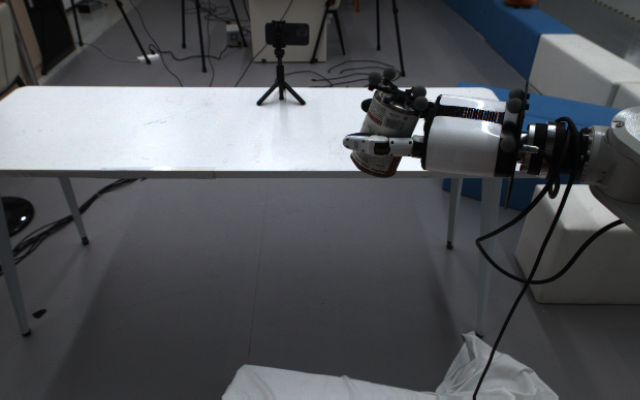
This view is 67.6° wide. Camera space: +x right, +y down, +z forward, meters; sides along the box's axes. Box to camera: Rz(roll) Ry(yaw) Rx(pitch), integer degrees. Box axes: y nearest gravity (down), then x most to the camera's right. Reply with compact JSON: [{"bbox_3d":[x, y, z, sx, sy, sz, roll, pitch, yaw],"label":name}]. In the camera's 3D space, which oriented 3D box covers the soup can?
[{"bbox_3d":[0.089,-0.090,0.650,0.067,0.101,0.067,13,34,-9],"label":"soup can"}]
